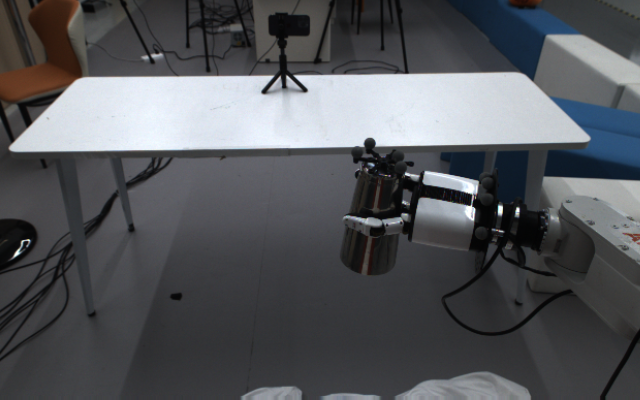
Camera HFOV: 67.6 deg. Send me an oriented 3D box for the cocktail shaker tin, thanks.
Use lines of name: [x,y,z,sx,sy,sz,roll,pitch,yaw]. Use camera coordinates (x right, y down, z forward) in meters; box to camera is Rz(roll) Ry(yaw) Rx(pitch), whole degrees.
cocktail shaker tin: [0.085,0.021,0.751,0.093,0.170,0.093,4,32,-2]
